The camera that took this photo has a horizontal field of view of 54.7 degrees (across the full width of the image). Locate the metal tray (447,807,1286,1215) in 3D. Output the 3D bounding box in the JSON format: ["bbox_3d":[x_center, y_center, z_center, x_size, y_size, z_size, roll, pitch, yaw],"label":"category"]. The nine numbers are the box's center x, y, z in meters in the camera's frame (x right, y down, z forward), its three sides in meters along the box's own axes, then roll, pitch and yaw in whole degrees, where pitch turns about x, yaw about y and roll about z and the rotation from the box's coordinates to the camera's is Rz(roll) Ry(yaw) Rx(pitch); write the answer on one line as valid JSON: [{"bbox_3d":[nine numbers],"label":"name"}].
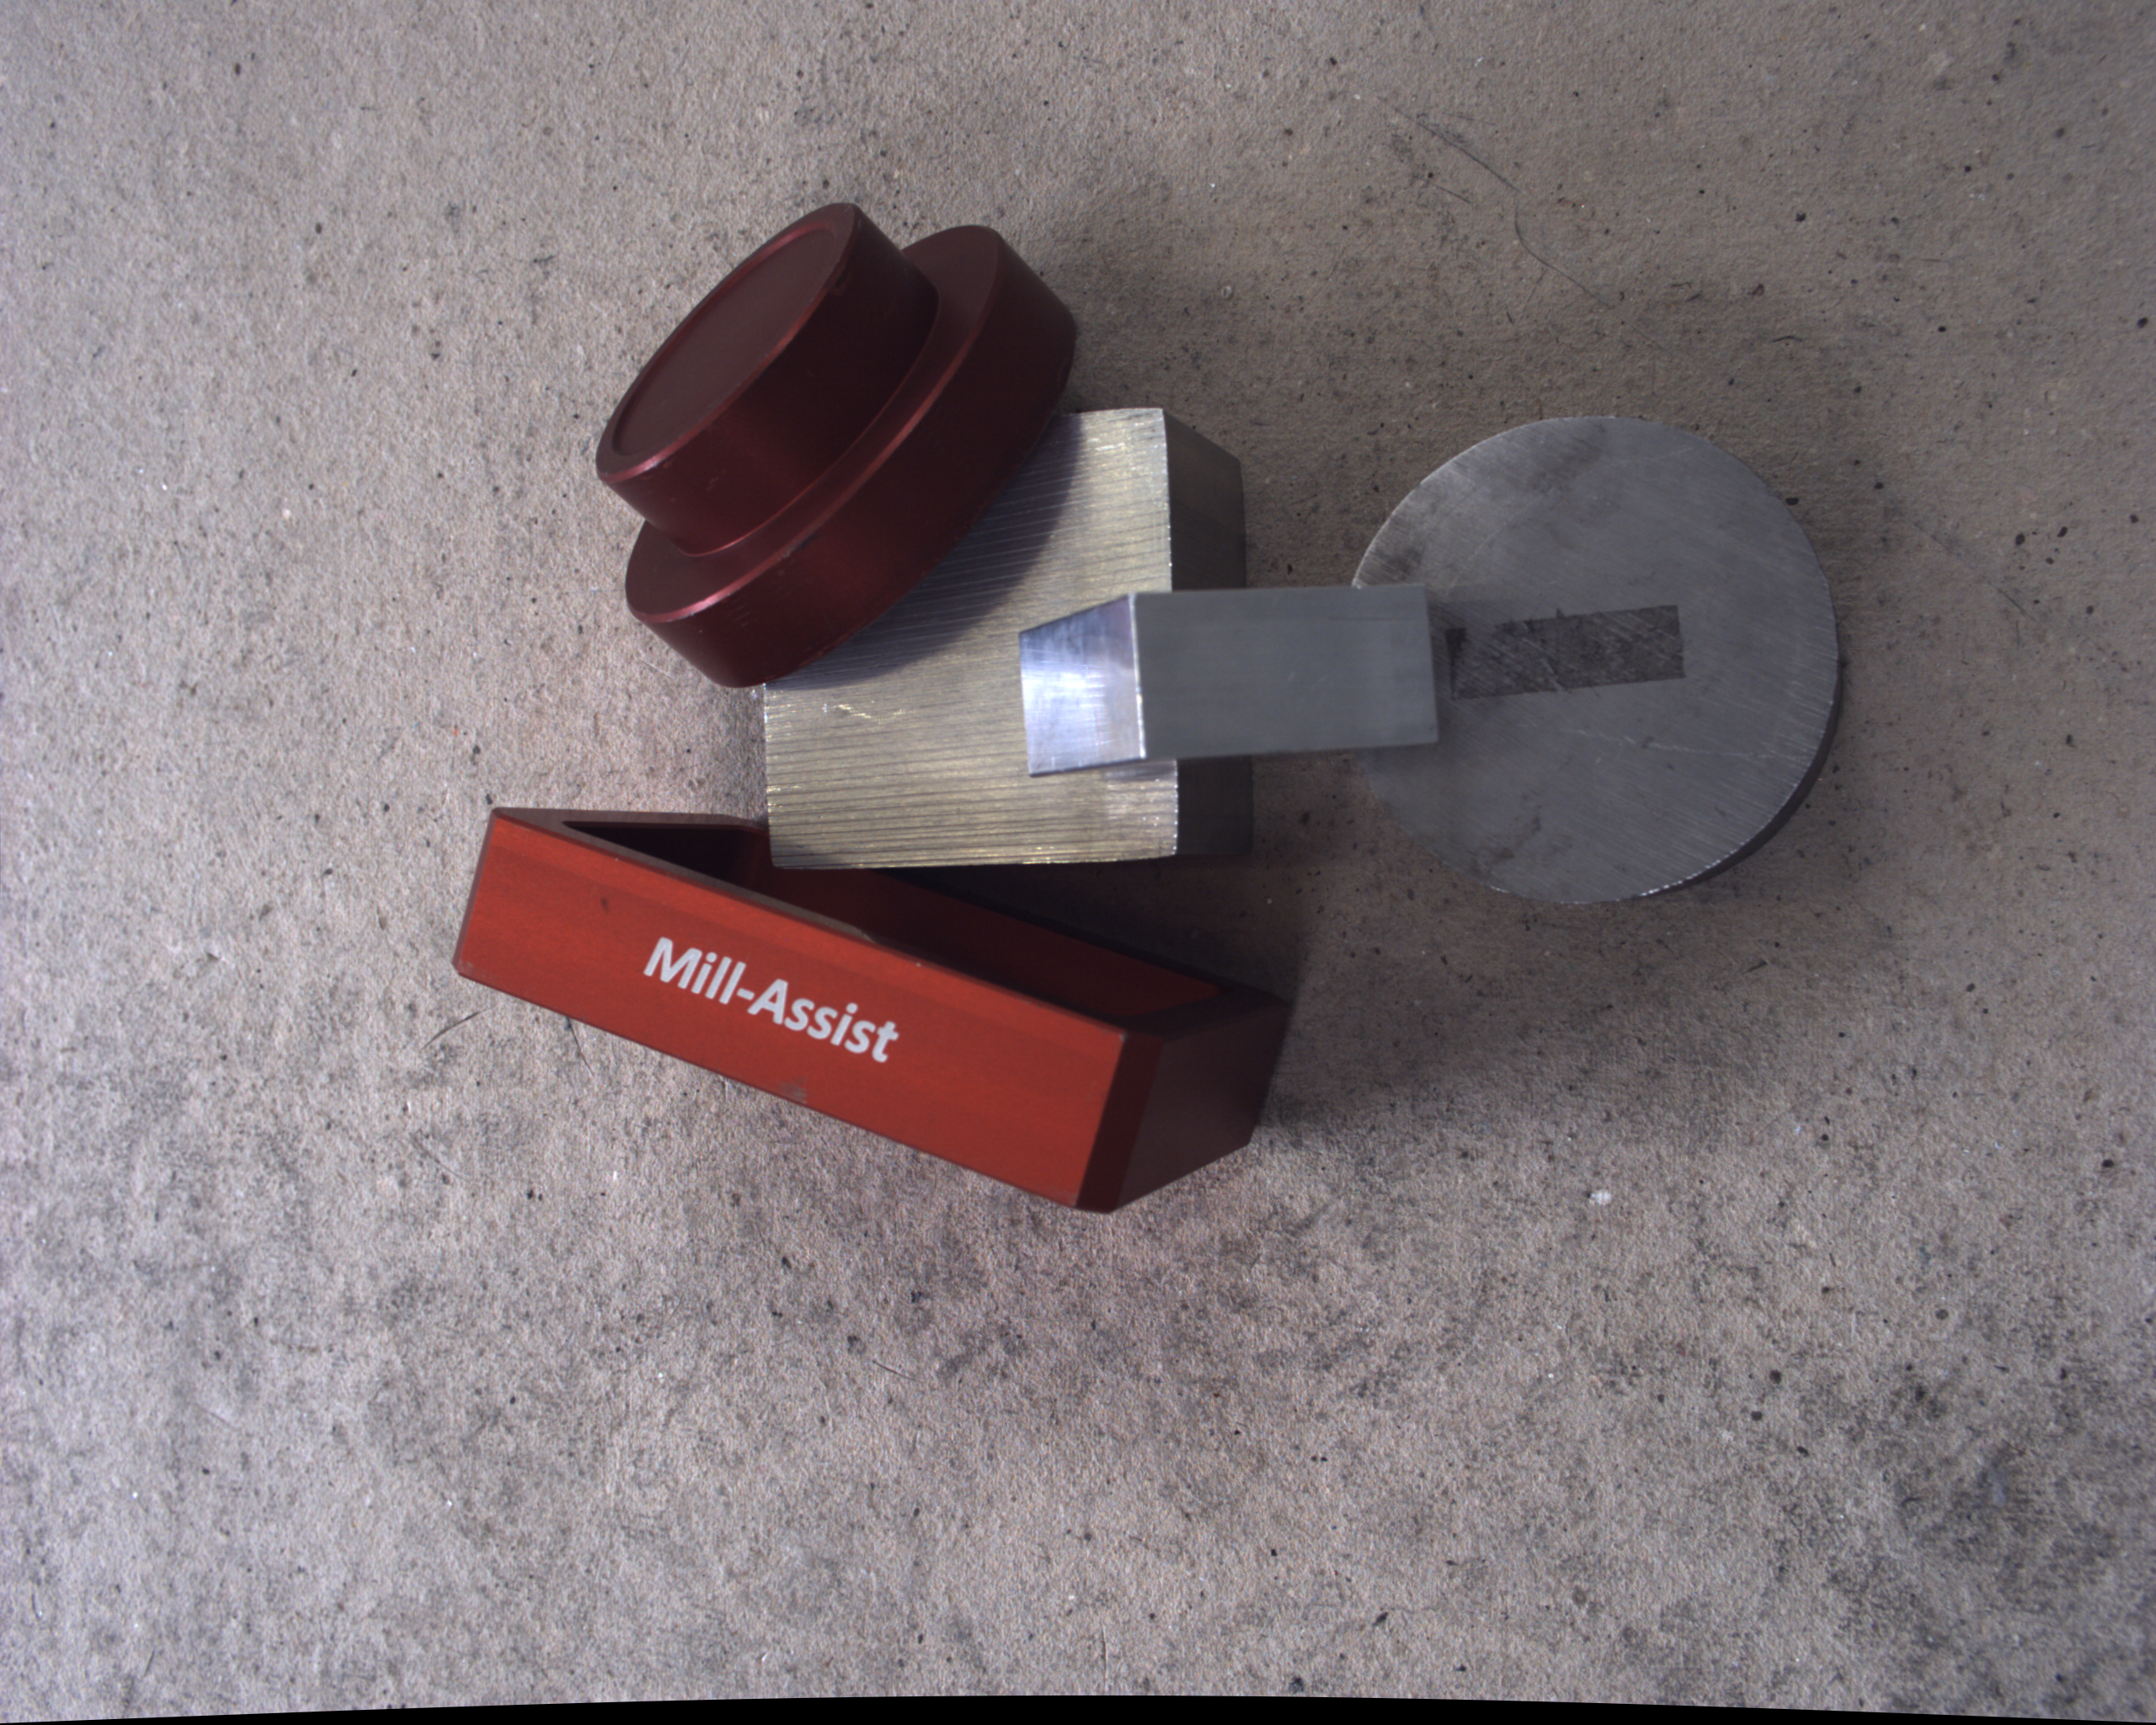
[{"bbox_3d":[-0.036,0.023,0.388,0.130,0.090,0.030,18,96,19],"label":"metal tray"}]

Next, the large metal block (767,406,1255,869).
[{"bbox_3d":[-0.012,-0.040,0.402,0.080,0.050,0.080,-2,90,20],"label":"large metal block"}]

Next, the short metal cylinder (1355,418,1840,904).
[{"bbox_3d":[0.091,-0.033,0.366,0.080,0.050,0.080,0,90,20],"label":"short metal cylinder"}]

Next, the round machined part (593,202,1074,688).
[{"bbox_3d":[-0.051,-0.083,0.389,0.098,0.098,0.042,-38,122,16],"label":"round machined part"}]

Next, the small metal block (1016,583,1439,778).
[{"bbox_3d":[0.023,-0.029,0.340,0.050,0.050,0.025,-5,91,-22],"label":"small metal block"}]
